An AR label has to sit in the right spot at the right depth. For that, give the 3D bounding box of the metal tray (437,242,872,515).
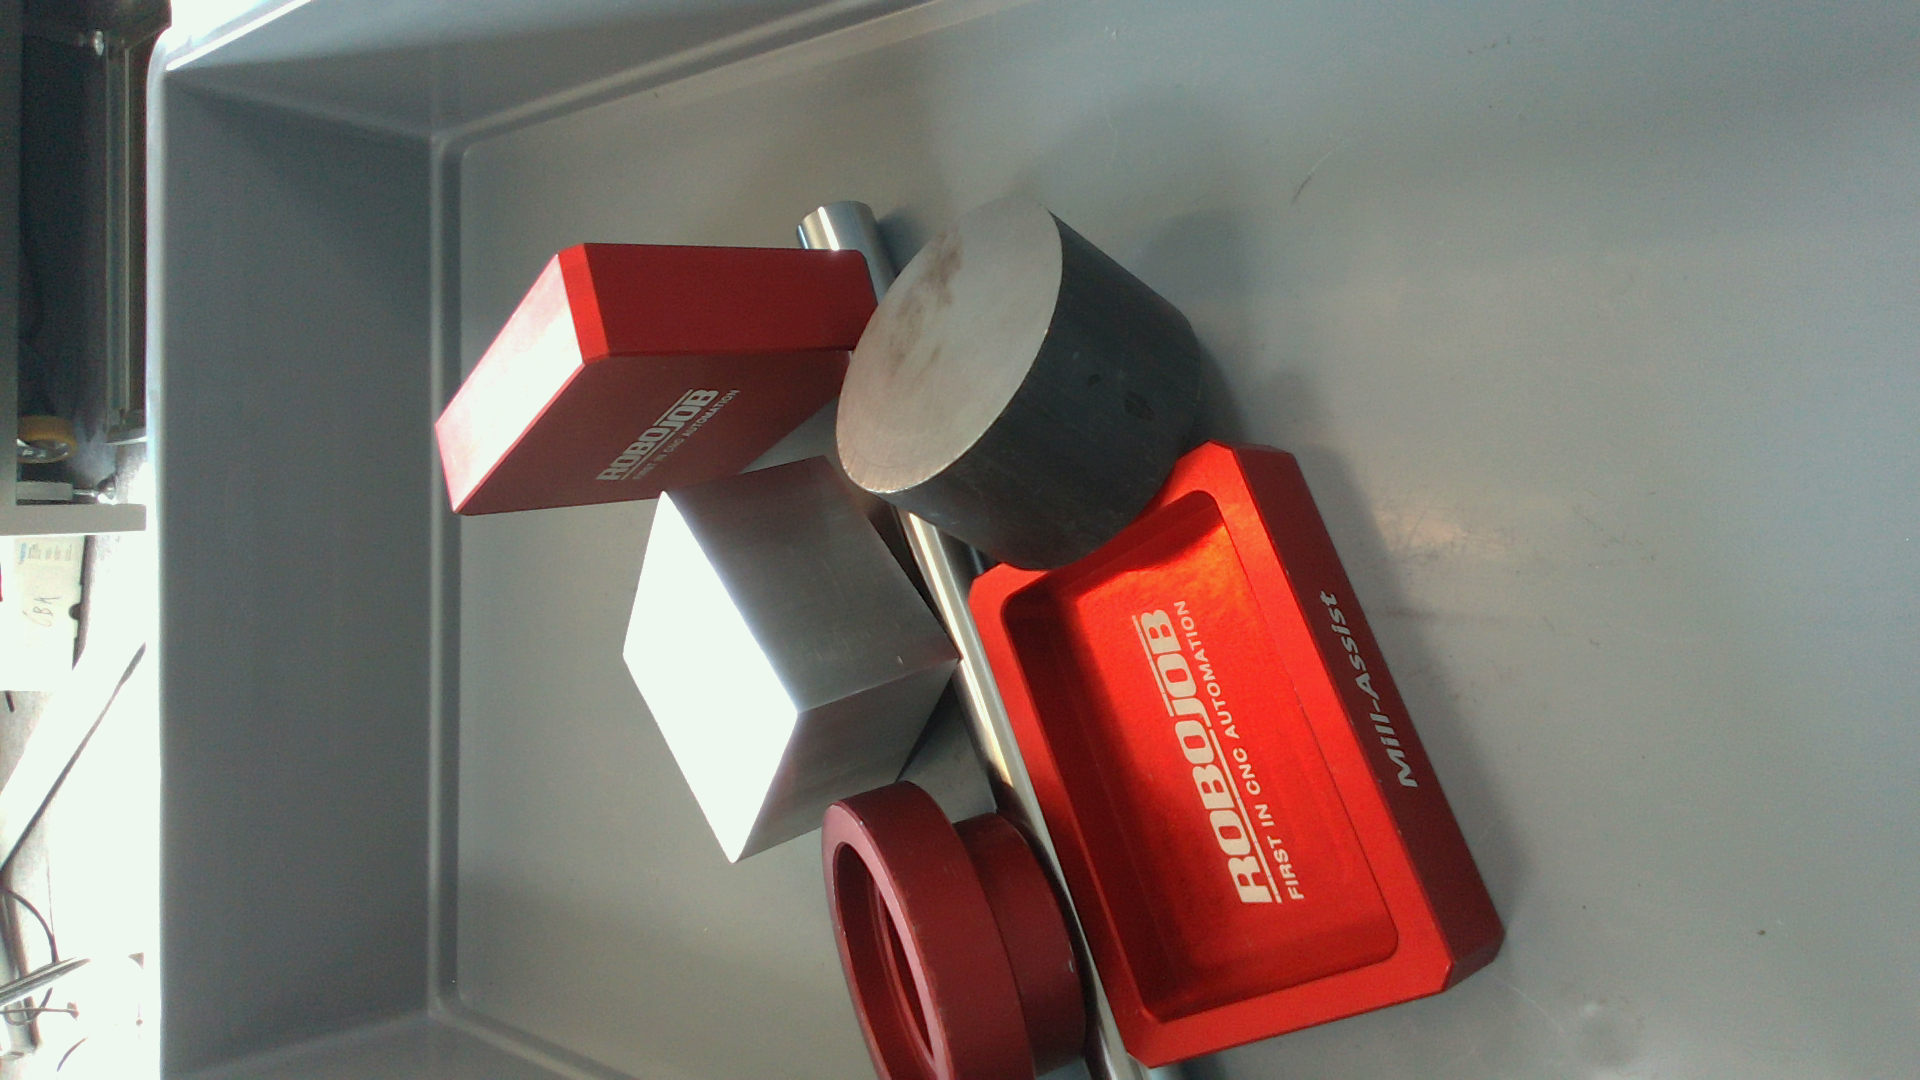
[{"bbox_3d":[-0.092,-0.045,0.410,0.130,0.090,0.030,-28,74,52],"label":"metal tray"}]

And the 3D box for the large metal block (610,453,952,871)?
[{"bbox_3d":[-0.056,0.035,0.400,0.080,0.050,0.080,55,140,25],"label":"large metal block"}]

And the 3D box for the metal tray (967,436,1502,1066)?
[{"bbox_3d":[0.061,0.052,0.338,0.090,0.030,0.130,-31,70,36],"label":"metal tray"}]

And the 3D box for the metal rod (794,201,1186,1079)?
[{"bbox_3d":[0.009,0.038,0.385,0.025,0.025,0.300,-31,70,36],"label":"metal rod"}]

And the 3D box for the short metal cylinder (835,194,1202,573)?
[{"bbox_3d":[0.013,-0.038,0.346,0.080,0.050,0.080,-31,44,36],"label":"short metal cylinder"}]

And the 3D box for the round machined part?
[{"bbox_3d":[-0.001,0.111,0.365,0.098,0.042,0.098,166,90,-70],"label":"round machined part"}]
